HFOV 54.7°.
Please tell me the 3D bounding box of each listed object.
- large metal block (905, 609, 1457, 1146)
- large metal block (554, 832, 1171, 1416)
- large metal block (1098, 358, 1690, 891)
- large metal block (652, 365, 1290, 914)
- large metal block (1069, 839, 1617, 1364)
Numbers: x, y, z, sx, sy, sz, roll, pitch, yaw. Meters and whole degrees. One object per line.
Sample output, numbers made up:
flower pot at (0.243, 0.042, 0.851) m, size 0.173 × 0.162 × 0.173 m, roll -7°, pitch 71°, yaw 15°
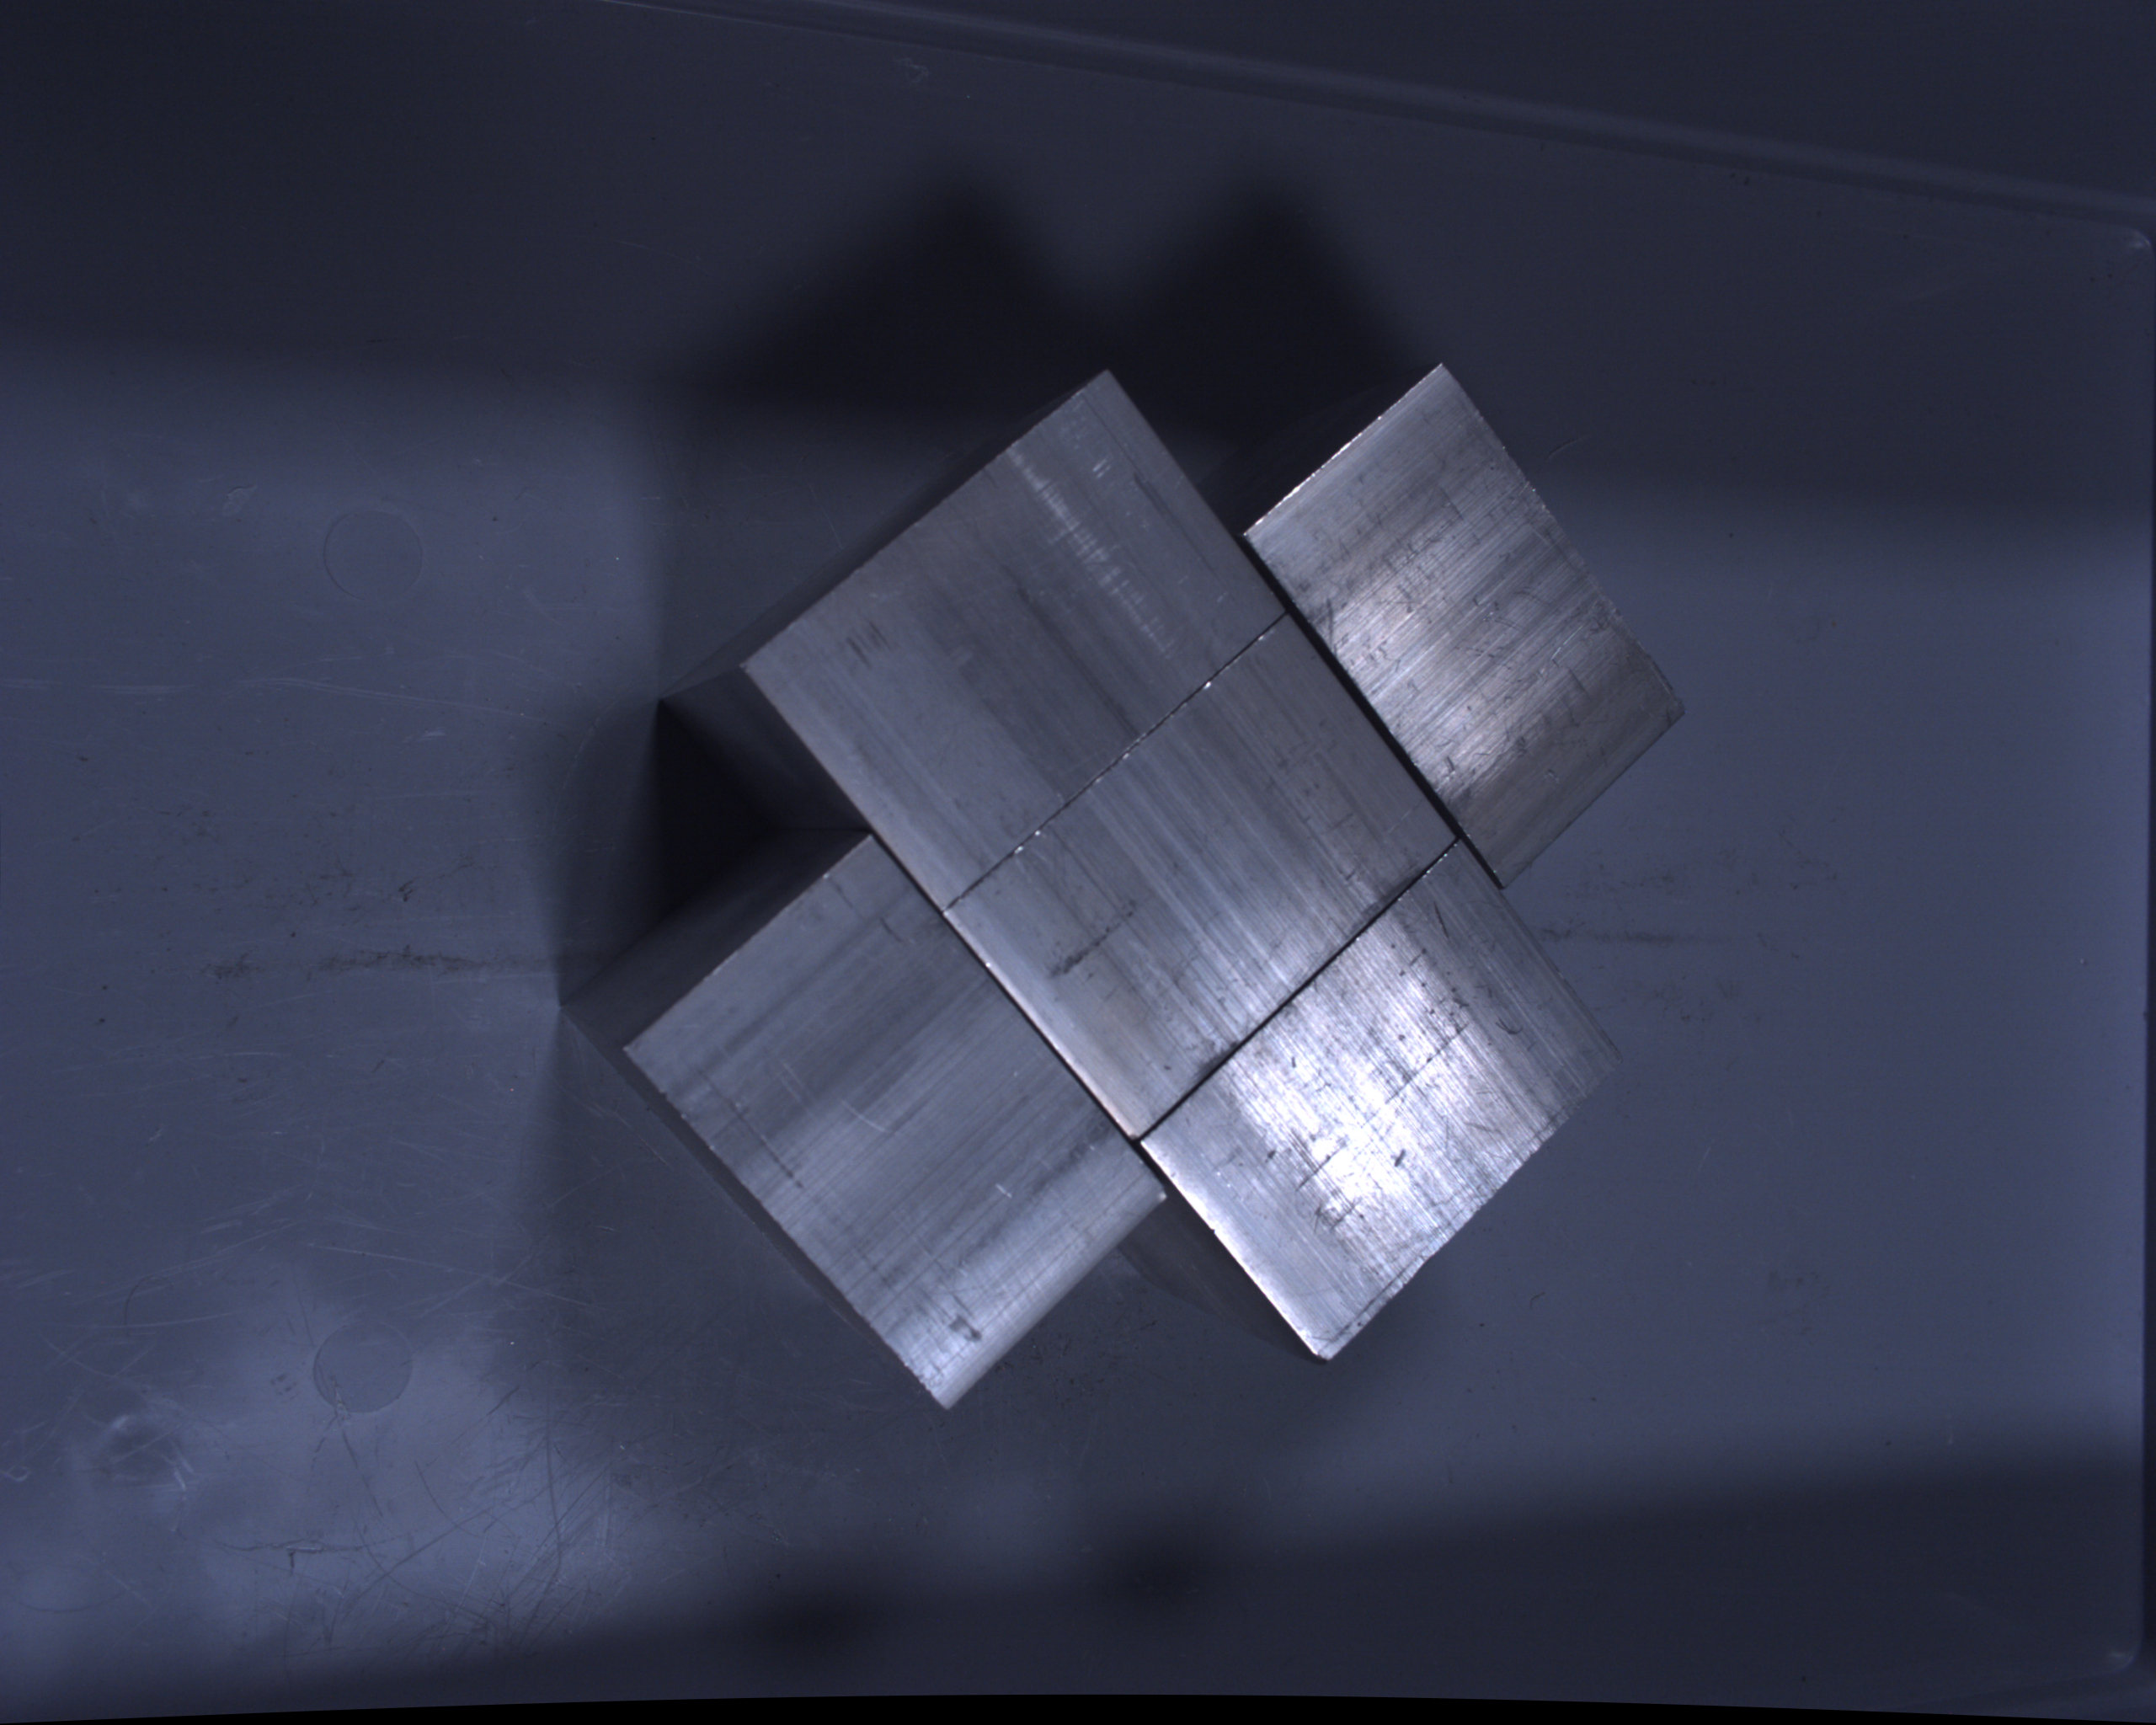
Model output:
large metal block at (0.008, 0.002, 0.385) m, size 0.080 × 0.080 × 0.050 m, roll -42°, pitch 104°, yaw -15°
large metal block at (-0.041, 0.041, 0.366) m, size 0.050 × 0.080 × 0.080 m, roll -43°, pitch 104°, yaw -15°
large metal block at (0.055, -0.042, 0.402) m, size 0.050 × 0.080 × 0.080 m, roll -43°, pitch 104°, yaw -15°
large metal block at (-0.022, -0.037, 0.372) m, size 0.080 × 0.080 × 0.050 m, roll -42°, pitch 104°, yaw -15°
large metal block at (0.039, 0.040, 0.396) m, size 0.080 × 0.080 × 0.050 m, roll -42°, pitch 104°, yaw -15°
